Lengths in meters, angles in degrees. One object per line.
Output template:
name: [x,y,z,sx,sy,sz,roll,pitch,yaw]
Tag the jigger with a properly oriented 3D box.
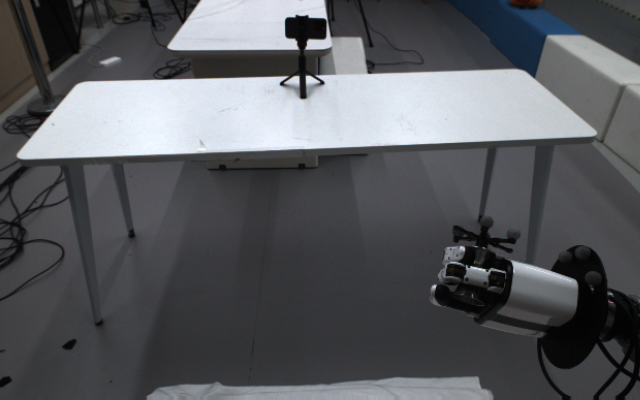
jigger: [0.202,0.096,0.629,0.043,0.043,0.071,15,70,18]
